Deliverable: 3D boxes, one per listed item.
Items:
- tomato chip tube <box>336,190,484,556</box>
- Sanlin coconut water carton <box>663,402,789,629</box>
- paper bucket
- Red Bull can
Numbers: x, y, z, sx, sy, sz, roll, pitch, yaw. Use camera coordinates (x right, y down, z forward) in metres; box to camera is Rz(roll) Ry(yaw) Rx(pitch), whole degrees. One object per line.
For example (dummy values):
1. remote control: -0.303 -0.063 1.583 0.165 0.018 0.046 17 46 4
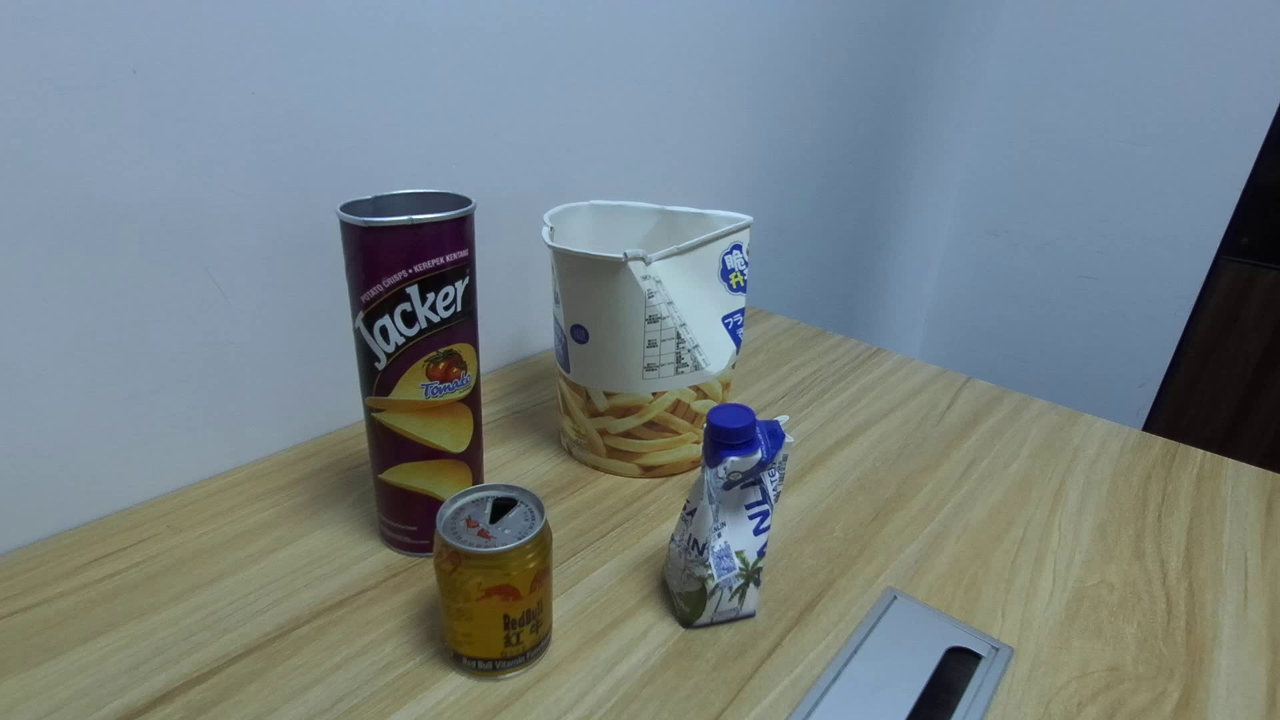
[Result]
1. tomato chip tube: -0.144 0.012 0.473 0.080 0.234 0.076 -3 26 -14
2. Sanlin coconut water carton: 0.059 0.096 0.433 0.069 0.144 0.056 3 31 -20
3. paper bucket: 0.001 -0.017 0.597 0.169 0.202 0.162 5 27 9
4. Red Bull can: -0.083 0.126 0.407 0.068 0.093 0.068 2 24 -1
